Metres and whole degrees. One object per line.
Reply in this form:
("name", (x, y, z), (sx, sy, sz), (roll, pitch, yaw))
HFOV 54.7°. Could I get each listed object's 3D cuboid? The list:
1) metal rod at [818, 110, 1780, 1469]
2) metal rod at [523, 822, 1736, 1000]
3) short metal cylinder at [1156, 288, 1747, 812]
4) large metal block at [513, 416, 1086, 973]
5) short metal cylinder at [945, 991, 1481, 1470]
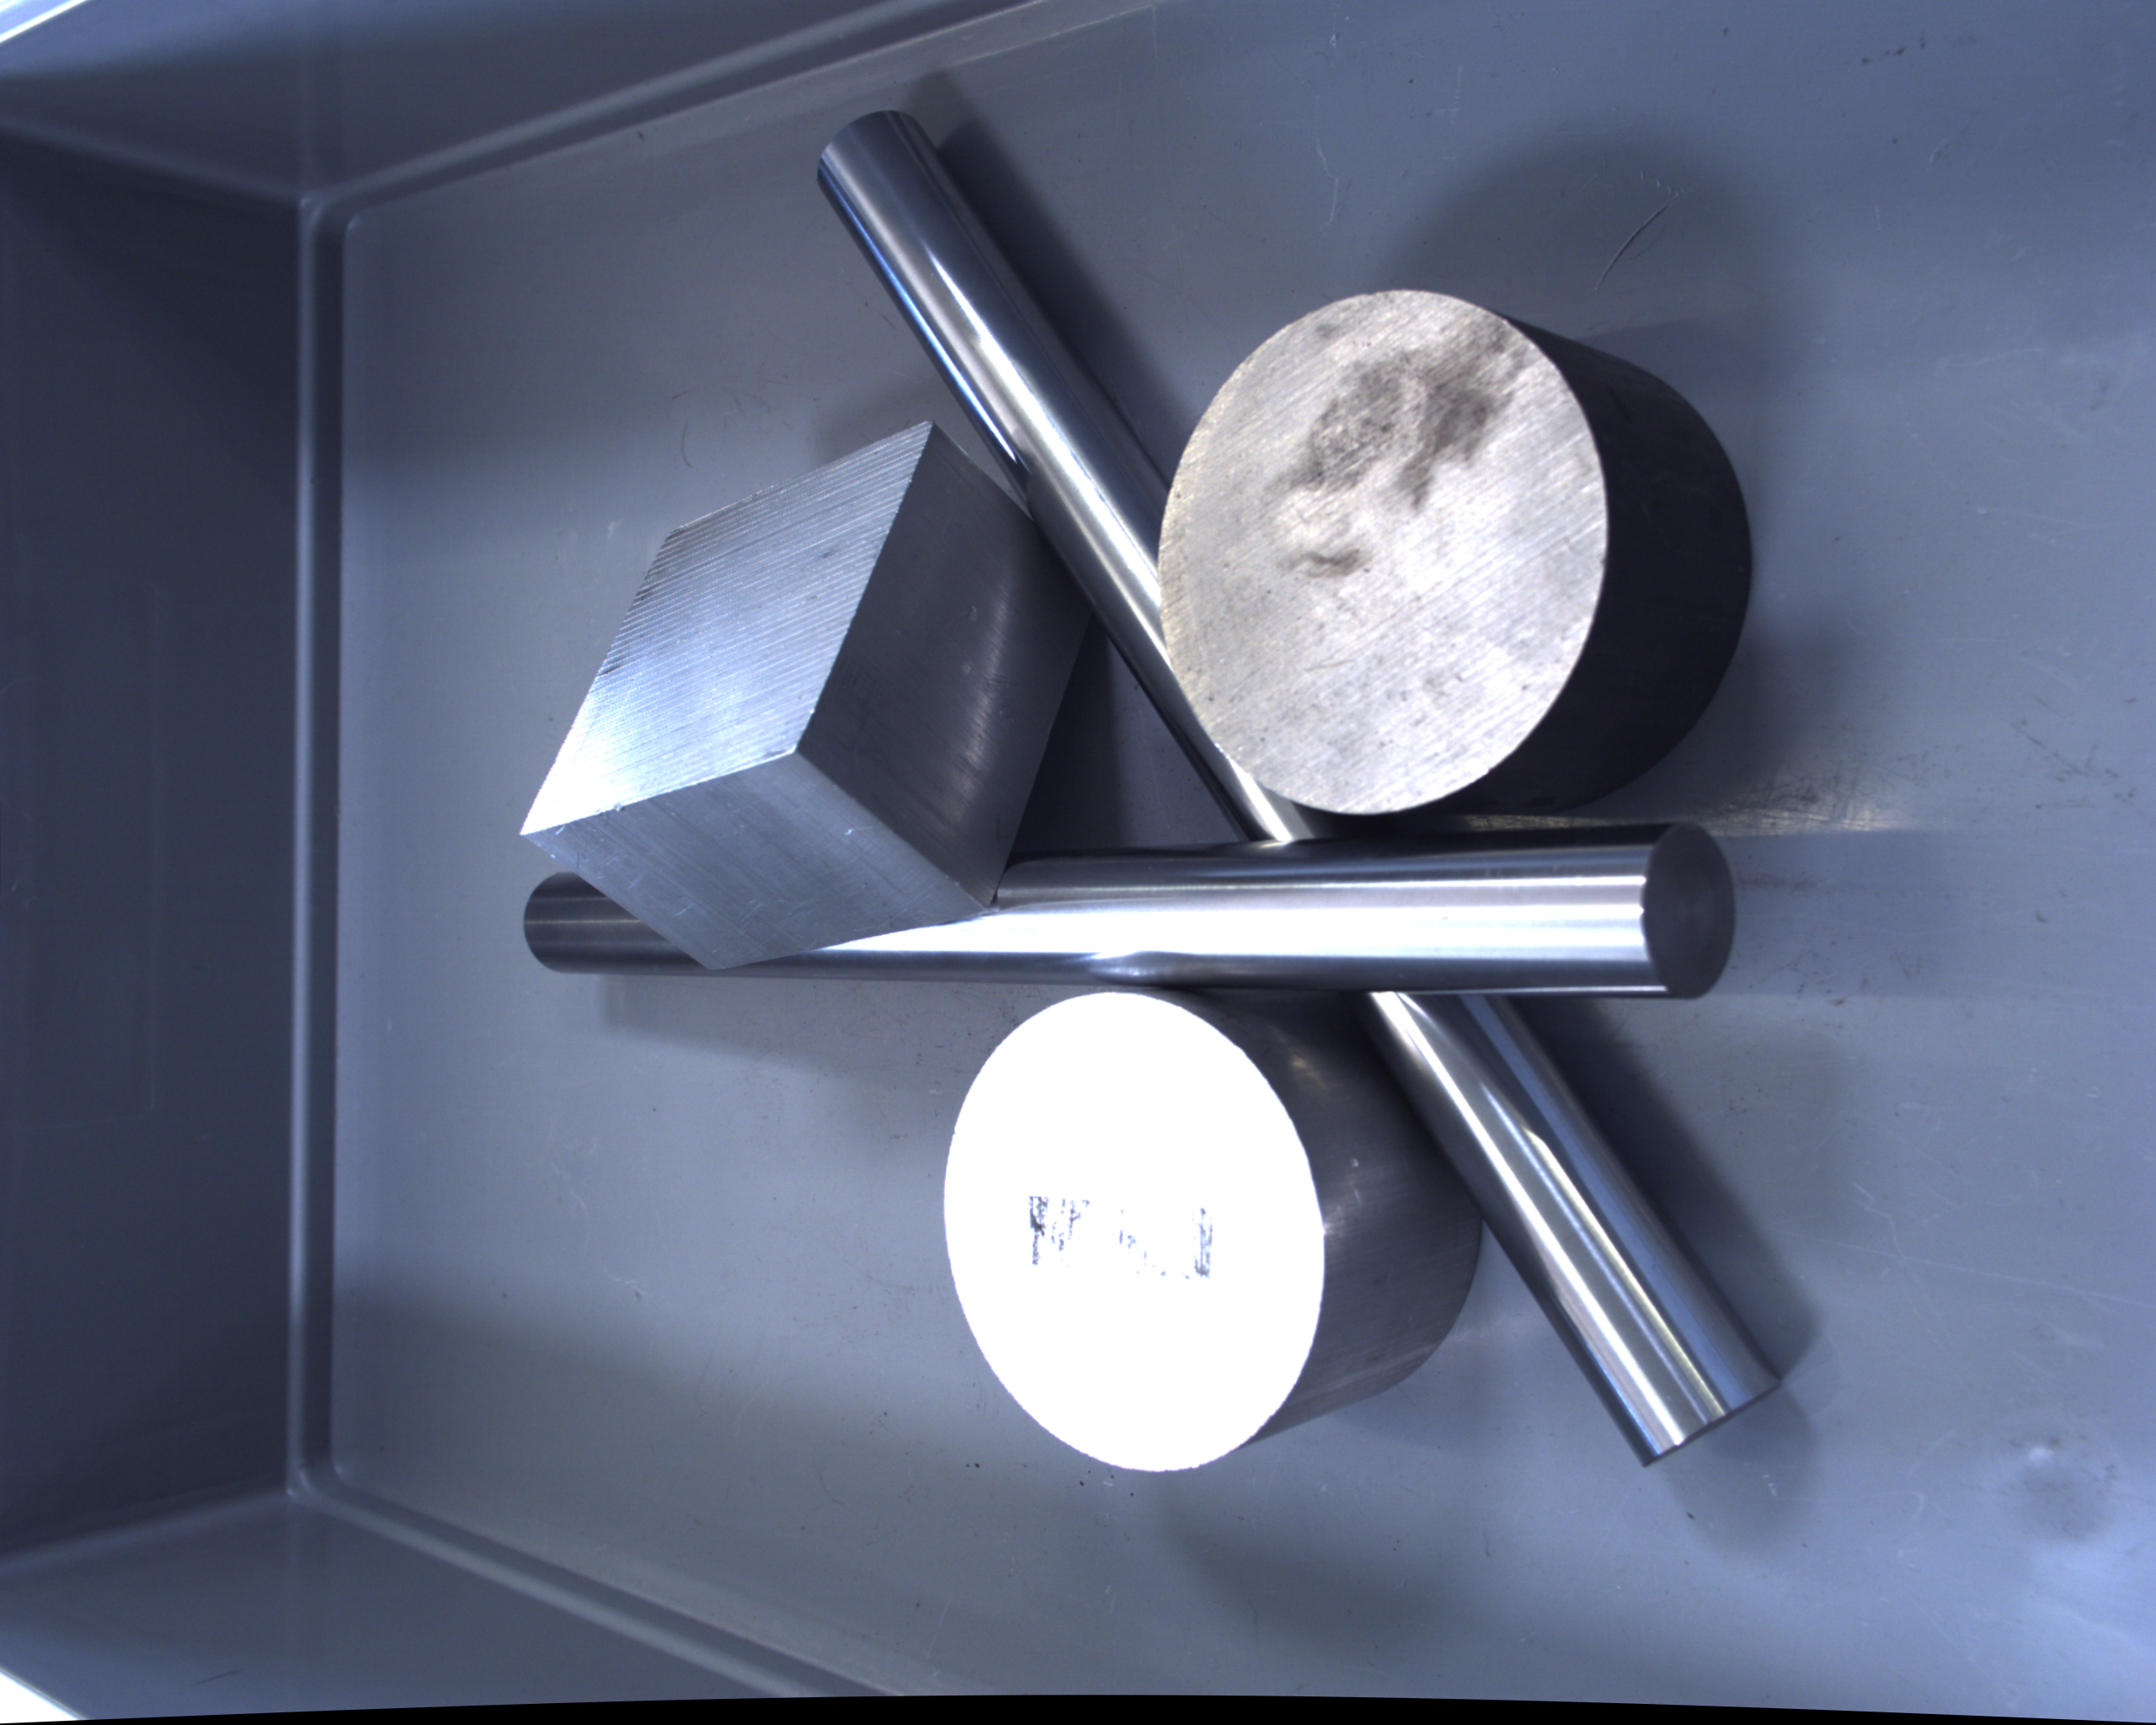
("metal rod", (0.027, -0.030, 0.382), (0.025, 0.025, 0.299), (-45, 63, 30))
("metal rod", (-0.019, 0.011, 0.398), (0.300, 0.025, 0.025), (-2, 89, 46))
("short metal cylinder", (0.060, -0.048, 0.339), (0.080, 0.050, 0.079), (0, 90, 40))
("large metal block", (-0.052, -0.030, 0.407), (0.080, 0.050, 0.080), (-13, 47, 39))
("short metal cylinder", (0.023, 0.061, 0.369), (0.080, 0.050, 0.079), (0, 90, 40))
